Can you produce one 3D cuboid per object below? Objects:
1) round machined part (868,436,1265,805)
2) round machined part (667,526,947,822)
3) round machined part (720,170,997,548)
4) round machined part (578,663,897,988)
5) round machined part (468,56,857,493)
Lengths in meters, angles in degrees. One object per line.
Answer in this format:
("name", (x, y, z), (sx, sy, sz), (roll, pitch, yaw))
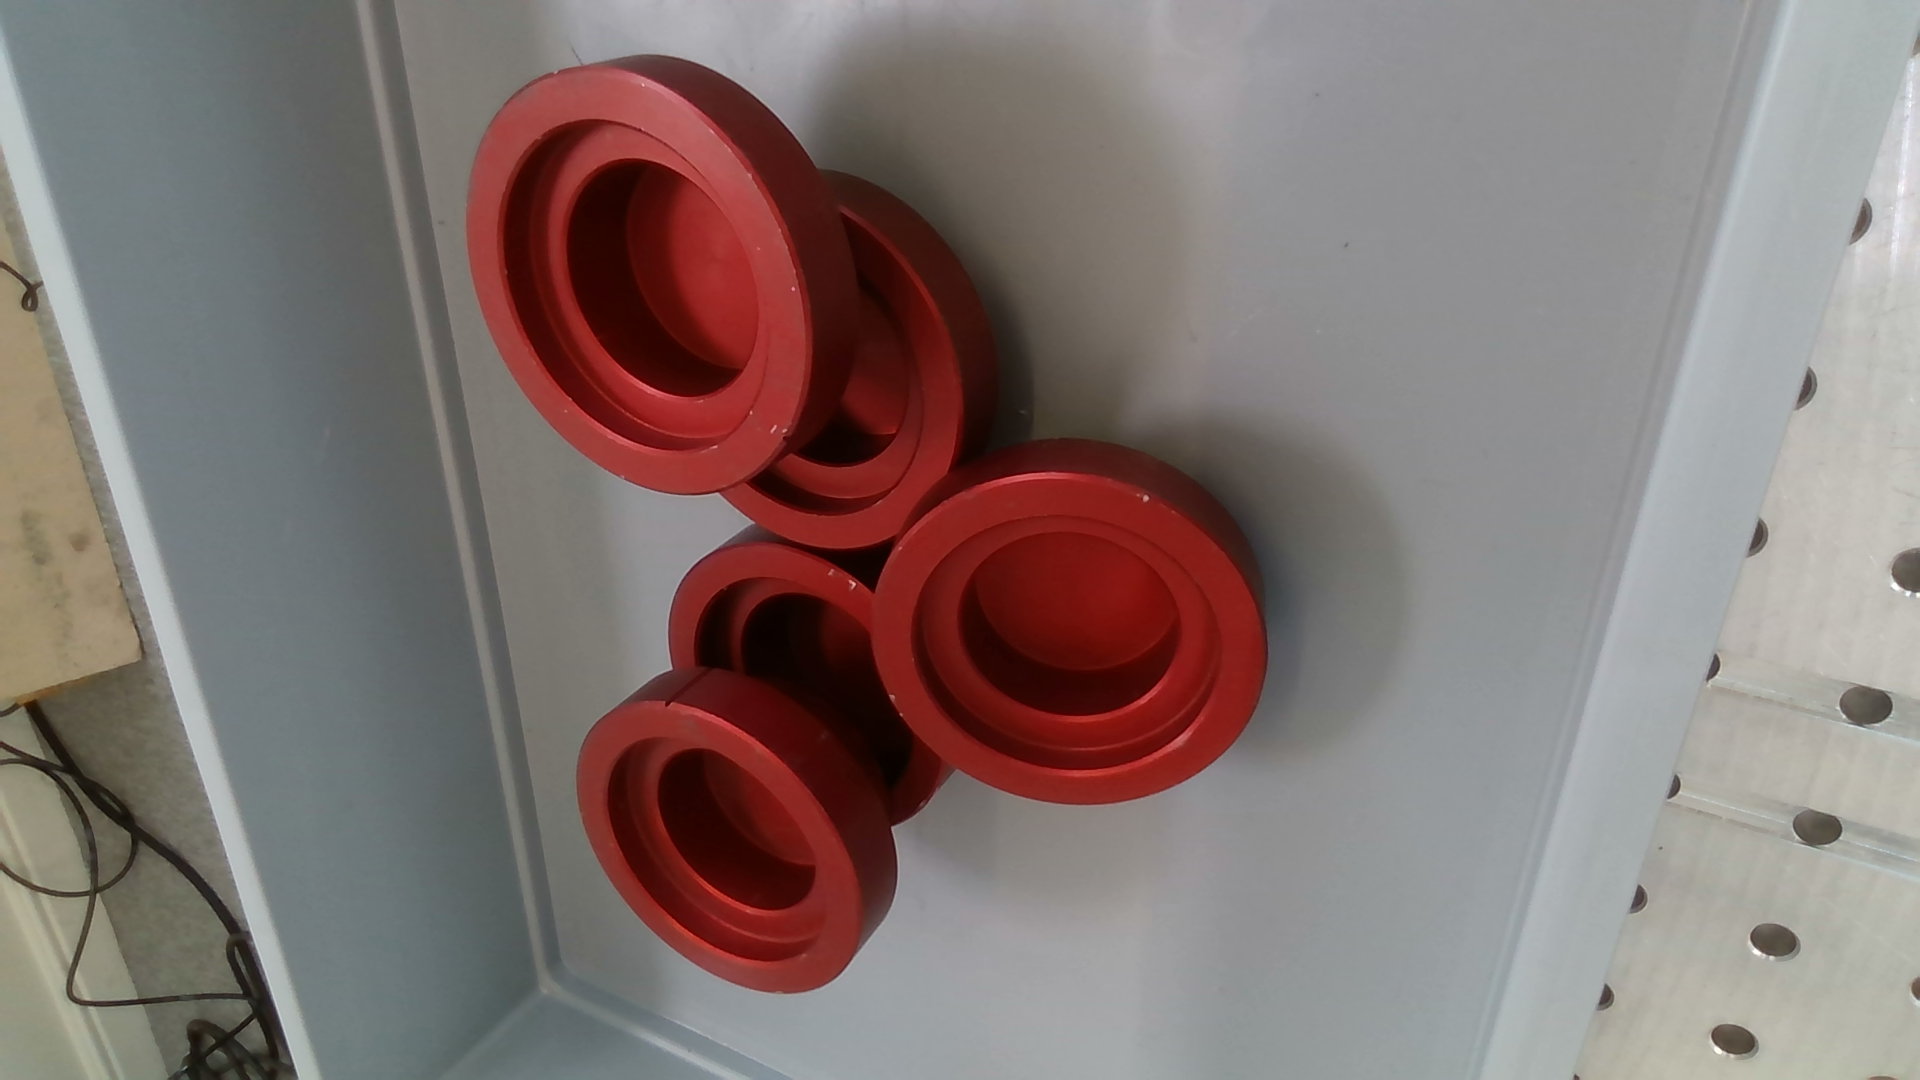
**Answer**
("round machined part", (0.029, 0.017, 0.356), (0.098, 0.042, 0.098), (5, 120, 9))
("round machined part", (-0.037, 0.036, 0.420), (0.098, 0.042, 0.098), (15, 122, 25))
("round machined part", (-0.033, -0.051, 0.369), (0.098, 0.042, 0.098), (15, 122, 25))
("round machined part", (-0.060, 0.078, 0.403), (0.098, 0.042, 0.098), (15, 122, 25))
("round machined part", (-0.066, -0.064, 0.328), (0.098, 0.042, 0.098), (15, 122, 25))
